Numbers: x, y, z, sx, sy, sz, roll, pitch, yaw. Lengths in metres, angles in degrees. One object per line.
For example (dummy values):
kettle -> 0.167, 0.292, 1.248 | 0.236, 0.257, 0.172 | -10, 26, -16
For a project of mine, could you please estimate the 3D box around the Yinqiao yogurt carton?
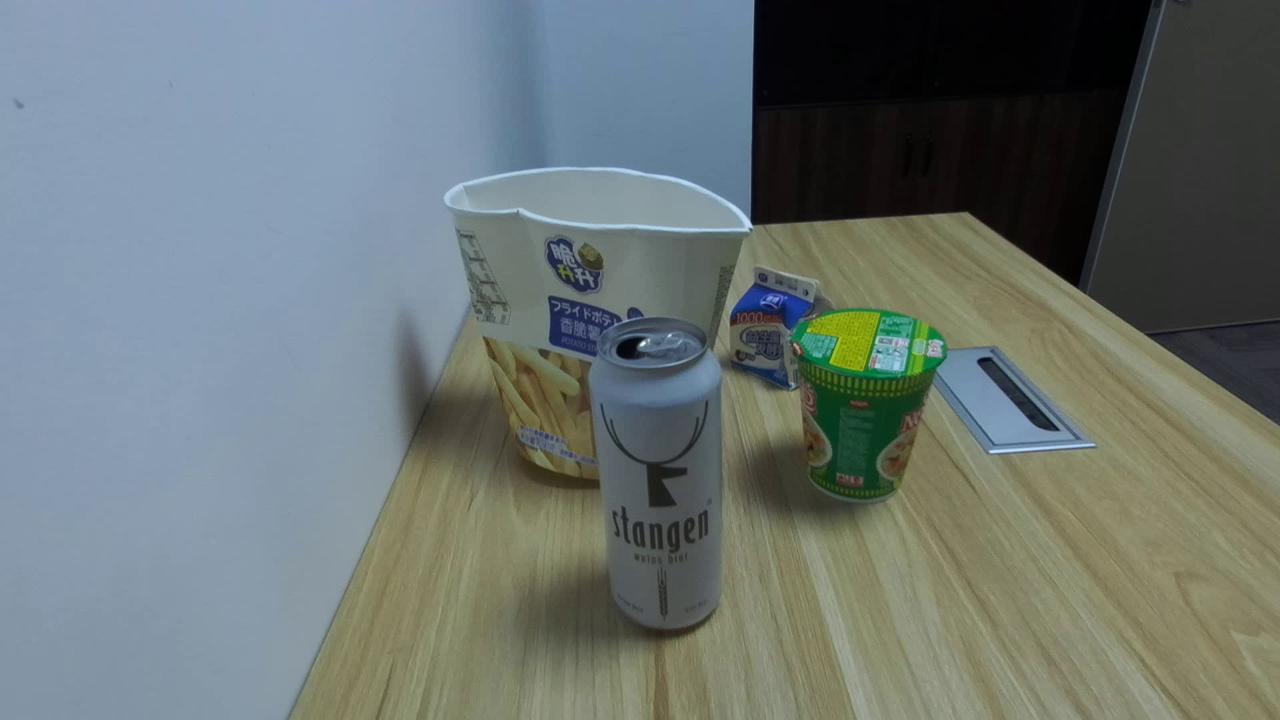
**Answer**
Yinqiao yogurt carton -> 0.128, -0.035, 0.631 | 0.071, 0.094, 0.077 | -32, 39, -30

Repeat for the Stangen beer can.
Stangen beer can -> 0.012, 0.064, 0.383 | 0.067, 0.171, 0.067 | -2, 29, 2

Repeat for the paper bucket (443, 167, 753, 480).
paper bucket -> -0.031, -0.030, 0.526 | 0.218, 0.199, 0.147 | -2, 29, 4

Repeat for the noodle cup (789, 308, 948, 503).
noodle cup -> 0.152, 0.033, 0.485 | 0.097, 0.110, 0.097 | -4, 30, 3
